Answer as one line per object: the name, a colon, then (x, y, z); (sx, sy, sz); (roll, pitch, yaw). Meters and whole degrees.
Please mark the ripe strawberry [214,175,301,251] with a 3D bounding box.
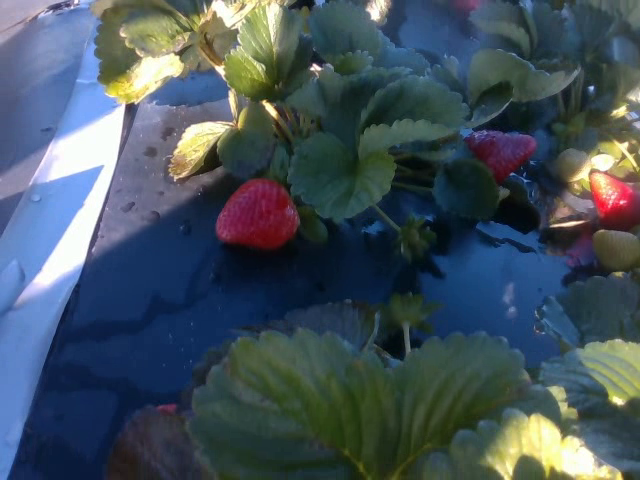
ripe strawberry: (-0.036, -0.012, 0.332); (0.045, 0.042, 0.058); (2, 31, 46)
